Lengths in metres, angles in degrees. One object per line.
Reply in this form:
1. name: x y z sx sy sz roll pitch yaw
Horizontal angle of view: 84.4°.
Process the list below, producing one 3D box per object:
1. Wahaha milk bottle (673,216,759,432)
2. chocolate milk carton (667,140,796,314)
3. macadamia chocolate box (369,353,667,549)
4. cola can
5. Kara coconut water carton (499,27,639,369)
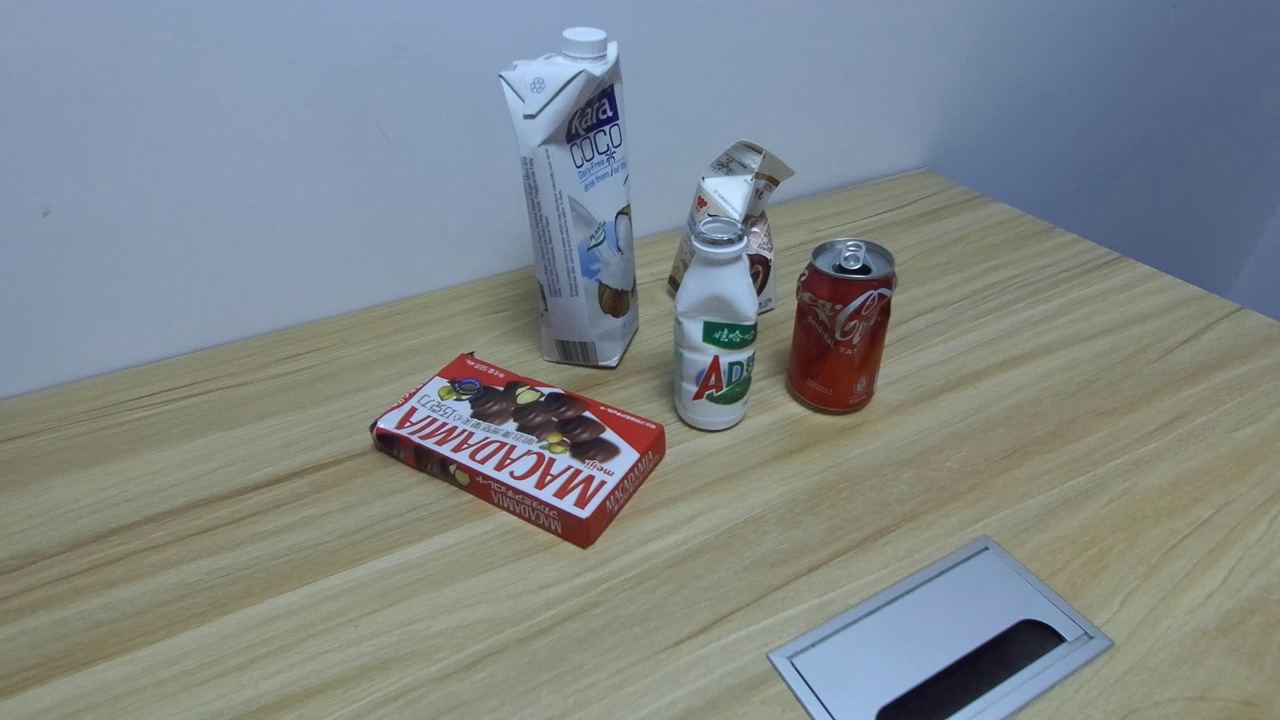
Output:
1. Wahaha milk bottle: 0.049 -0.021 0.467 0.056 0.148 0.056 1 37 0
2. chocolate milk carton: 0.081 -0.108 0.590 0.089 0.155 0.076 -8 39 -32
3. macadamia chocolate box: -0.084 0.052 0.481 0.182 0.028 0.106 18 41 25
4. cola can: 0.142 -0.024 0.498 0.066 0.117 0.066 -21 40 -26
5. Kara coconut water carton: -0.044 -0.111 0.520 0.069 0.239 0.115 7 34 16
